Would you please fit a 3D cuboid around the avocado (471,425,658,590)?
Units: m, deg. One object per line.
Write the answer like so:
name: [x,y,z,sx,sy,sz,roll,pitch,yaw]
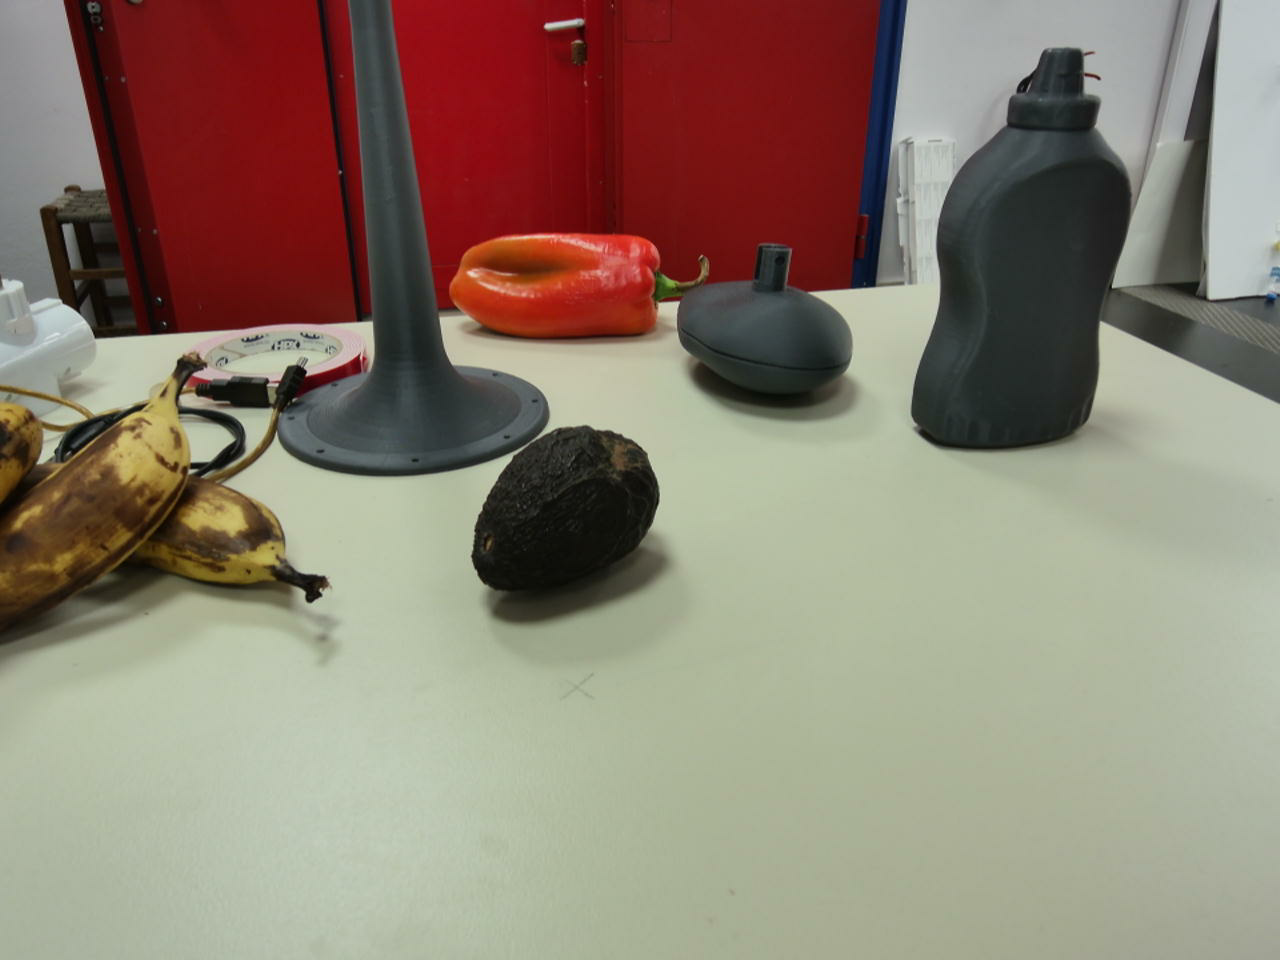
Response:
avocado: [-0.033,0.010,0.422,0.092,0.062,0.062,-17,30,-33]
